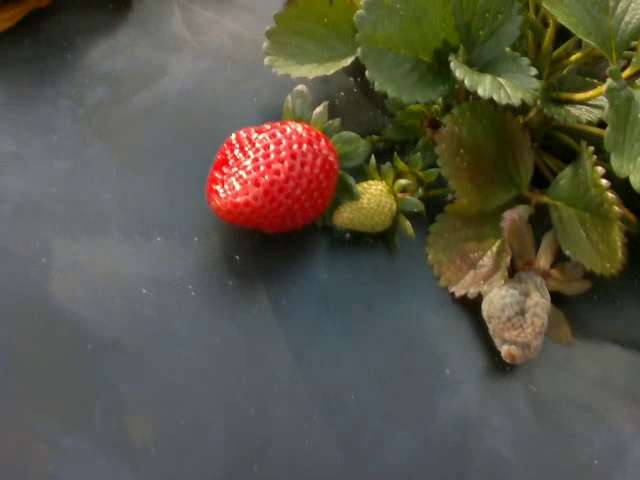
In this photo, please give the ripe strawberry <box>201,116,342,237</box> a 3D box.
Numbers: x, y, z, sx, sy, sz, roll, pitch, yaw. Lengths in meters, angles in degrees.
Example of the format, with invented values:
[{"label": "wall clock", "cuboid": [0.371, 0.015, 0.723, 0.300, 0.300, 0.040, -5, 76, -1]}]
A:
[{"label": "ripe strawberry", "cuboid": [-0.018, -0.018, 0.194, 0.045, 0.051, 0.058, 36, 37, 3]}]
